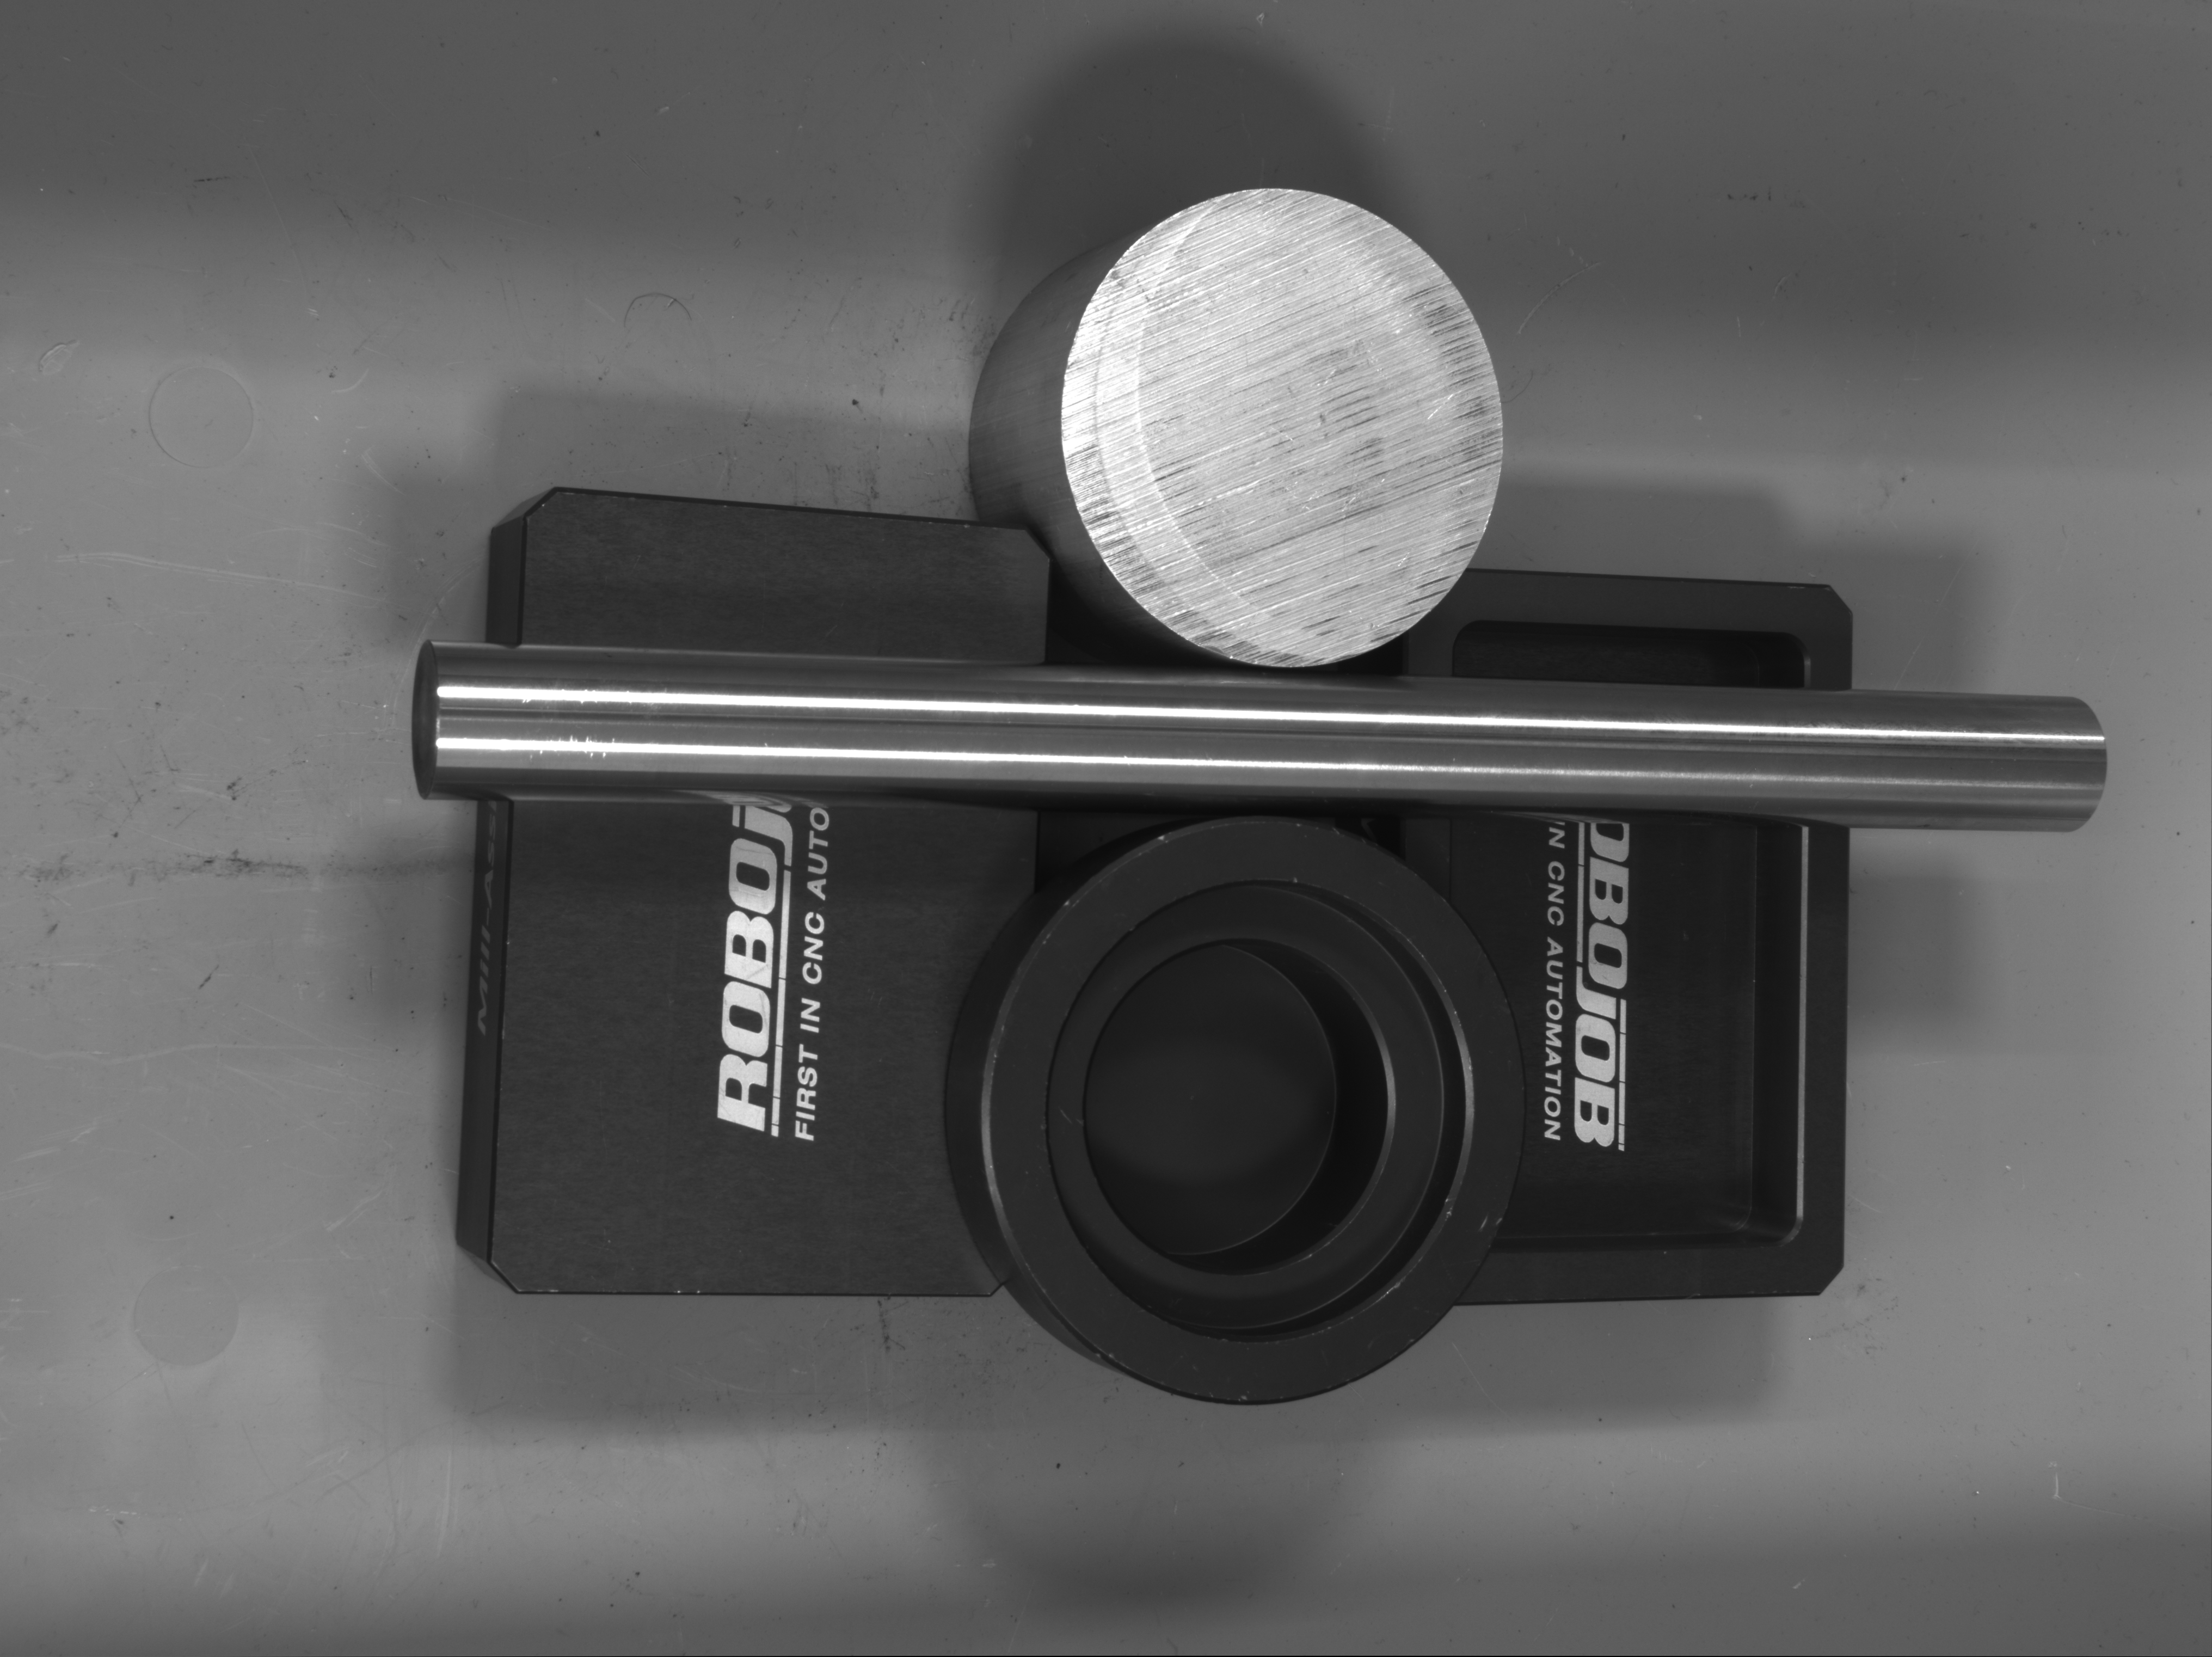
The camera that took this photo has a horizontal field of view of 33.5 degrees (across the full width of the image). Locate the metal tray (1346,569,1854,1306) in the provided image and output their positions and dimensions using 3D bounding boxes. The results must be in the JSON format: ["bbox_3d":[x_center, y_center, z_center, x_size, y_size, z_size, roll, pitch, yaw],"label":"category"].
[{"bbox_3d":[0.089,0.020,0.671,0.090,0.030,0.130,1,90,-20],"label":"metal tray"}]

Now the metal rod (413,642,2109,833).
[{"bbox_3d":[0.036,-0.014,0.622,0.301,0.025,0.025,1,90,-20],"label":"metal rod"}]

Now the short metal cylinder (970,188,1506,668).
[{"bbox_3d":[0.022,-0.067,0.636,0.080,0.050,0.080,0,90,-20],"label":"short metal cylinder"}]

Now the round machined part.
[{"bbox_3d":[0.019,0.047,0.630,0.098,0.042,0.098,0,90,-20],"label":"round machined part"}]

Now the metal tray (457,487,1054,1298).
[{"bbox_3d":[-0.059,0.012,0.617,0.090,0.030,0.130,3,89,-20],"label":"metal tray"}]
